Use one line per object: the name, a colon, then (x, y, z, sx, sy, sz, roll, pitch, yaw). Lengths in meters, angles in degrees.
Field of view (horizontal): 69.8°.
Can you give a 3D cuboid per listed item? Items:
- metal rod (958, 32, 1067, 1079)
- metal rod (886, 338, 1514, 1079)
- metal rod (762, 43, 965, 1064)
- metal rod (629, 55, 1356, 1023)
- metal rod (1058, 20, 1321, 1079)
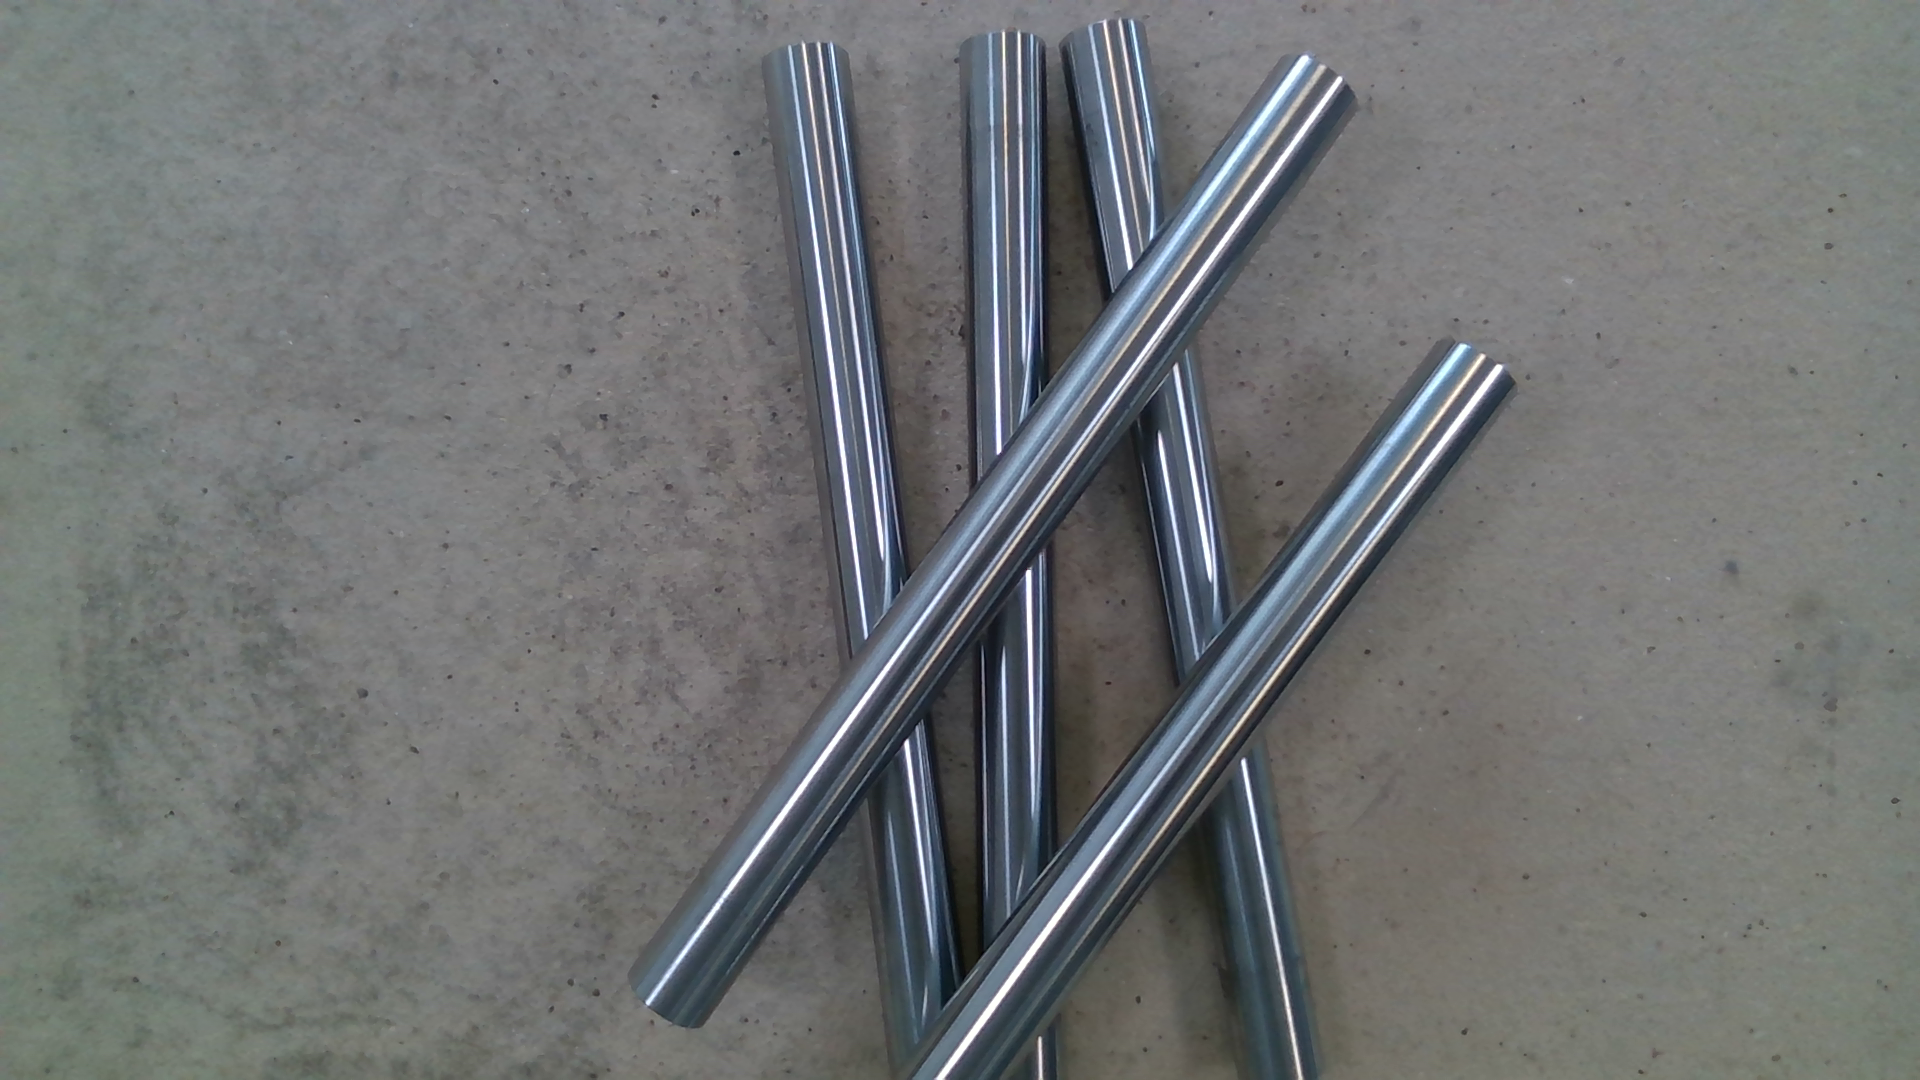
metal rod: (0.015, 0.009, 0.396, 0.025, 0.025, 0.300, -1, 90, 0)
metal rod: (0.049, 0.074, 0.371, 0.025, 0.025, 0.300, 36, 90, 0)
metal rod: (-0.025, 0.011, 0.396, 0.025, 0.025, 0.300, -7, 90, 0)
metal rod: (0.009, 0.000, 0.371, 0.025, 0.025, 0.300, 36, 90, 0)
metal rod: (0.066, 0.004, 0.396, 0.025, 0.025, 0.300, -10, 90, 0)
